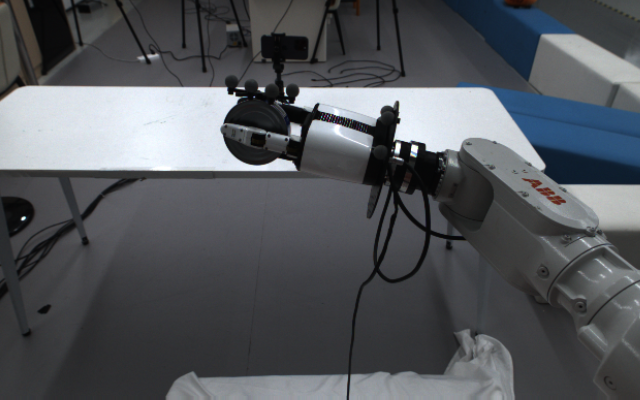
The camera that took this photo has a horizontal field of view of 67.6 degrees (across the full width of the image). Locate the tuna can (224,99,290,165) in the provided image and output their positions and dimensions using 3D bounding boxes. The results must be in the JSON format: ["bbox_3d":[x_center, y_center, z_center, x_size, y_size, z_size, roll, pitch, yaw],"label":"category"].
[{"bbox_3d":[-0.082,-0.092,0.639,0.085,0.085,0.034,5,18,5],"label":"tuna can"}]
